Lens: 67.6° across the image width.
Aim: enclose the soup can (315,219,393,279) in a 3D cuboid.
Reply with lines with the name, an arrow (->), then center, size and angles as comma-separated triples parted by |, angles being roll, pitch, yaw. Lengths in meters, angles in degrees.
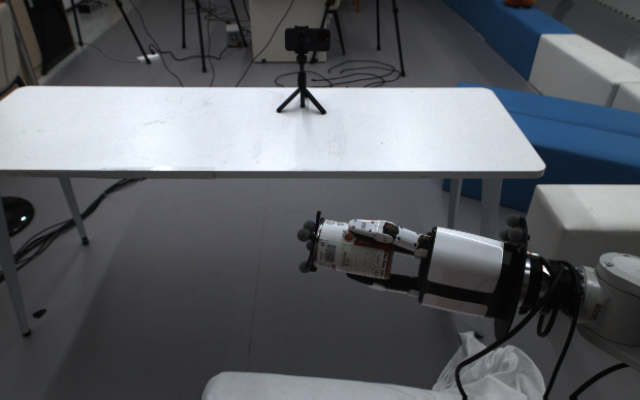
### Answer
soup can -> 0.051, 0.066, 0.651 | 0.101, 0.067, 0.067 | 9, 35, 9
